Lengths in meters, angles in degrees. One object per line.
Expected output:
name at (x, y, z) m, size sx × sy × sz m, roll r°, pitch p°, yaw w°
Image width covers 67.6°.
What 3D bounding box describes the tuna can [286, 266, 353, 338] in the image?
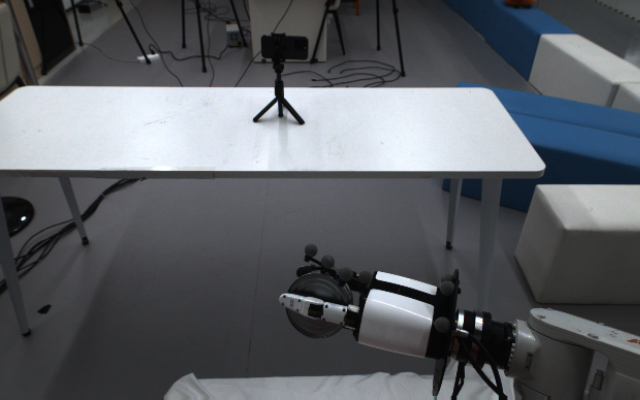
tuna can at (0.003, 0.135, 0.636) m, size 0.085 × 0.085 × 0.034 m, roll 13°, pitch 2°, yaw 16°
